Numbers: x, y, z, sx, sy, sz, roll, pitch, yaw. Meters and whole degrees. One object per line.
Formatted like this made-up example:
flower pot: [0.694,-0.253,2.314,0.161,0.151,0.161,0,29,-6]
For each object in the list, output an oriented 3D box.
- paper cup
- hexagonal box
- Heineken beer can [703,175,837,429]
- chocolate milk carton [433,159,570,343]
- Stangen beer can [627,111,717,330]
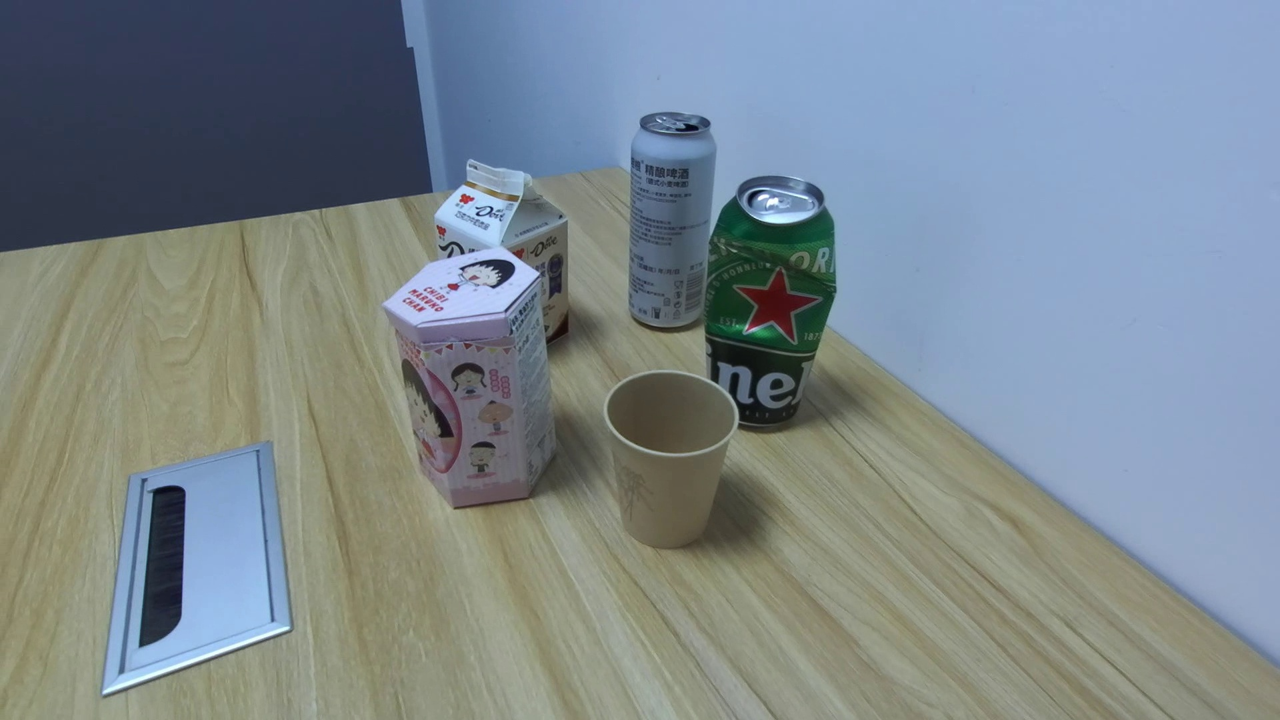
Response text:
paper cup: [0.016,0.061,0.410,0.075,0.082,0.075,1,35,-1]
hexagonal box: [-0.097,0.011,0.432,0.085,0.135,0.091,-24,43,-31]
Heineken beer can: [0.084,-0.032,0.471,0.069,0.168,0.068,-19,41,-24]
chocolate milk carton: [-0.105,-0.082,0.551,0.075,0.148,0.074,28,43,31]
Stangen beer can: [0.025,-0.109,0.577,0.067,0.171,0.067,1,33,0]
